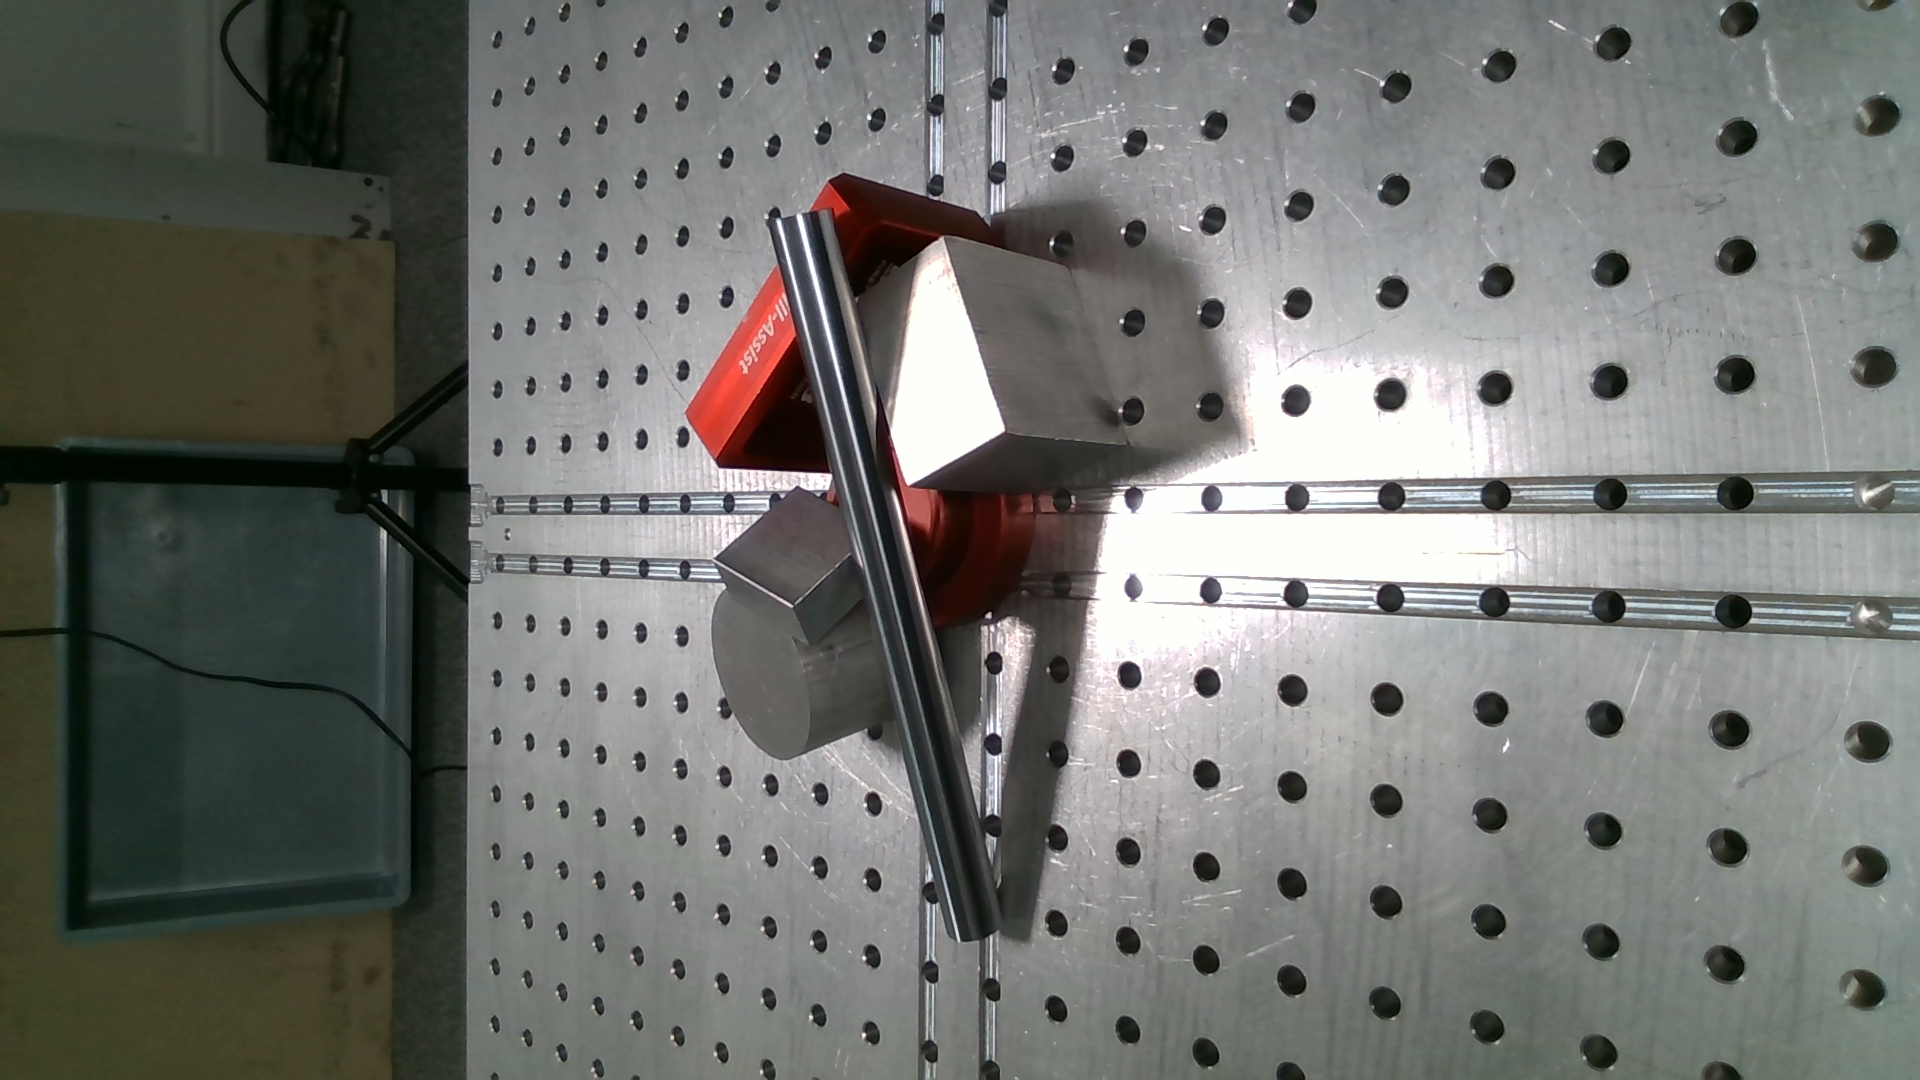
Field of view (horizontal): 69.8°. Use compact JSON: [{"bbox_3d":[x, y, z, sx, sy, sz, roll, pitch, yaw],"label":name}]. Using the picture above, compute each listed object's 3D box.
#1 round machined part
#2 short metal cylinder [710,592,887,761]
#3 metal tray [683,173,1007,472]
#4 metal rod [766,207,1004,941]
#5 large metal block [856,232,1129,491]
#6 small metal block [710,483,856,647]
[{"bbox_3d":[-0.018,-0.011,0.593,0.098,0.042,0.098,0,91,40],"label":"round machined part"},{"bbox_3d":[-0.069,0.051,0.612,0.080,0.050,0.080,26,125,45],"label":"short metal cylinder"},{"bbox_3d":[-0.047,-0.085,0.581,0.130,0.090,0.030,-51,60,28],"label":"metal tray"},{"bbox_3d":[-0.026,0.022,0.545,0.025,0.025,0.300,0,110,40],"label":"metal rod"},{"bbox_3d":[0.012,-0.066,0.536,0.050,0.080,0.080,-27,73,37],"label":"large metal block"},{"bbox_3d":[-0.065,0.009,0.567,0.050,0.050,0.025,26,149,35],"label":"small metal block"}]
